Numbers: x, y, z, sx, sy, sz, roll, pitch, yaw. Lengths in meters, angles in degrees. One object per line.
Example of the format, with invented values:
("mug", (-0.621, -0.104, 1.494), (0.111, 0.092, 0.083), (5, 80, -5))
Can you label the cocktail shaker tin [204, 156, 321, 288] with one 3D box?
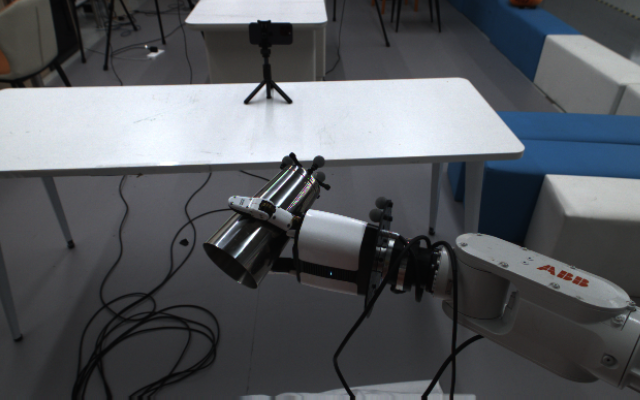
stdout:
("cocktail shaker tin", (-0.075, 0.026, 0.681), (0.093, 0.093, 0.170), (23, 57, 27))
